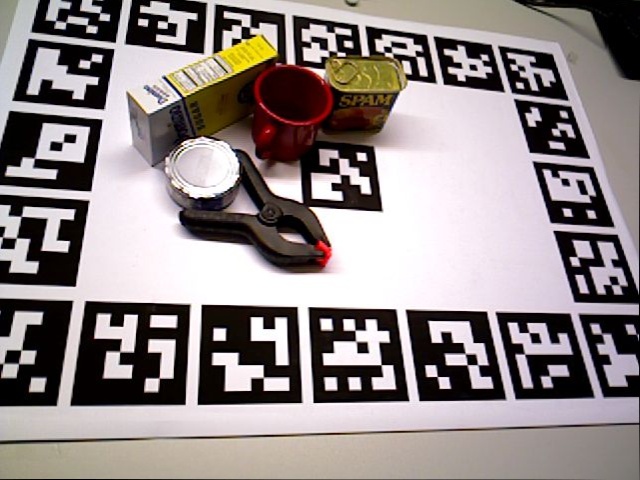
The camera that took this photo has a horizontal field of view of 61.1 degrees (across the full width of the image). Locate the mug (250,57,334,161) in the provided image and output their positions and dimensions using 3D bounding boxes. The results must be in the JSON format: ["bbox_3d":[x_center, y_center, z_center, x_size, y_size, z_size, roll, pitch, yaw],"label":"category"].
[{"bbox_3d":[-0.043,-0.140,0.631,0.093,0.083,0.115,26,62,-1],"label":"mug"}]

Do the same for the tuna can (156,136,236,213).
[{"bbox_3d":[-0.137,-0.070,0.602,0.085,0.034,0.085,5,64,-12],"label":"tuna can"}]

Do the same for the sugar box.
[{"bbox_3d":[-0.133,-0.158,0.620,0.173,0.095,0.045,-34,74,-28],"label":"sugar box"}]

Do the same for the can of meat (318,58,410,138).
[{"bbox_3d":[0.049,-0.175,0.681,0.100,0.085,0.057,-4,63,-18],"label":"can of meat"}]

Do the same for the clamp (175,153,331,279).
[{"bbox_3d":[-0.061,-0.014,0.599,0.165,0.037,0.119,37,56,0],"label":"clamp"}]
